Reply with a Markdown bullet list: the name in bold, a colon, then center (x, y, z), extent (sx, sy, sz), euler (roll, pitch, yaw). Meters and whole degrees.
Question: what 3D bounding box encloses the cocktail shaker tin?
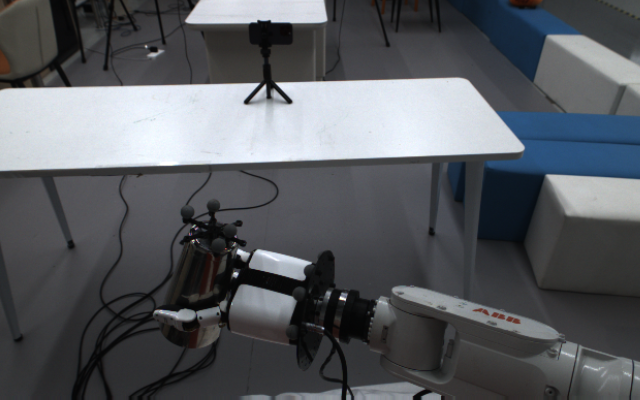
- **cocktail shaker tin**: center (-0.162, 0.111, 0.664), extent (0.093, 0.170, 0.093), euler (15, 31, -10)
